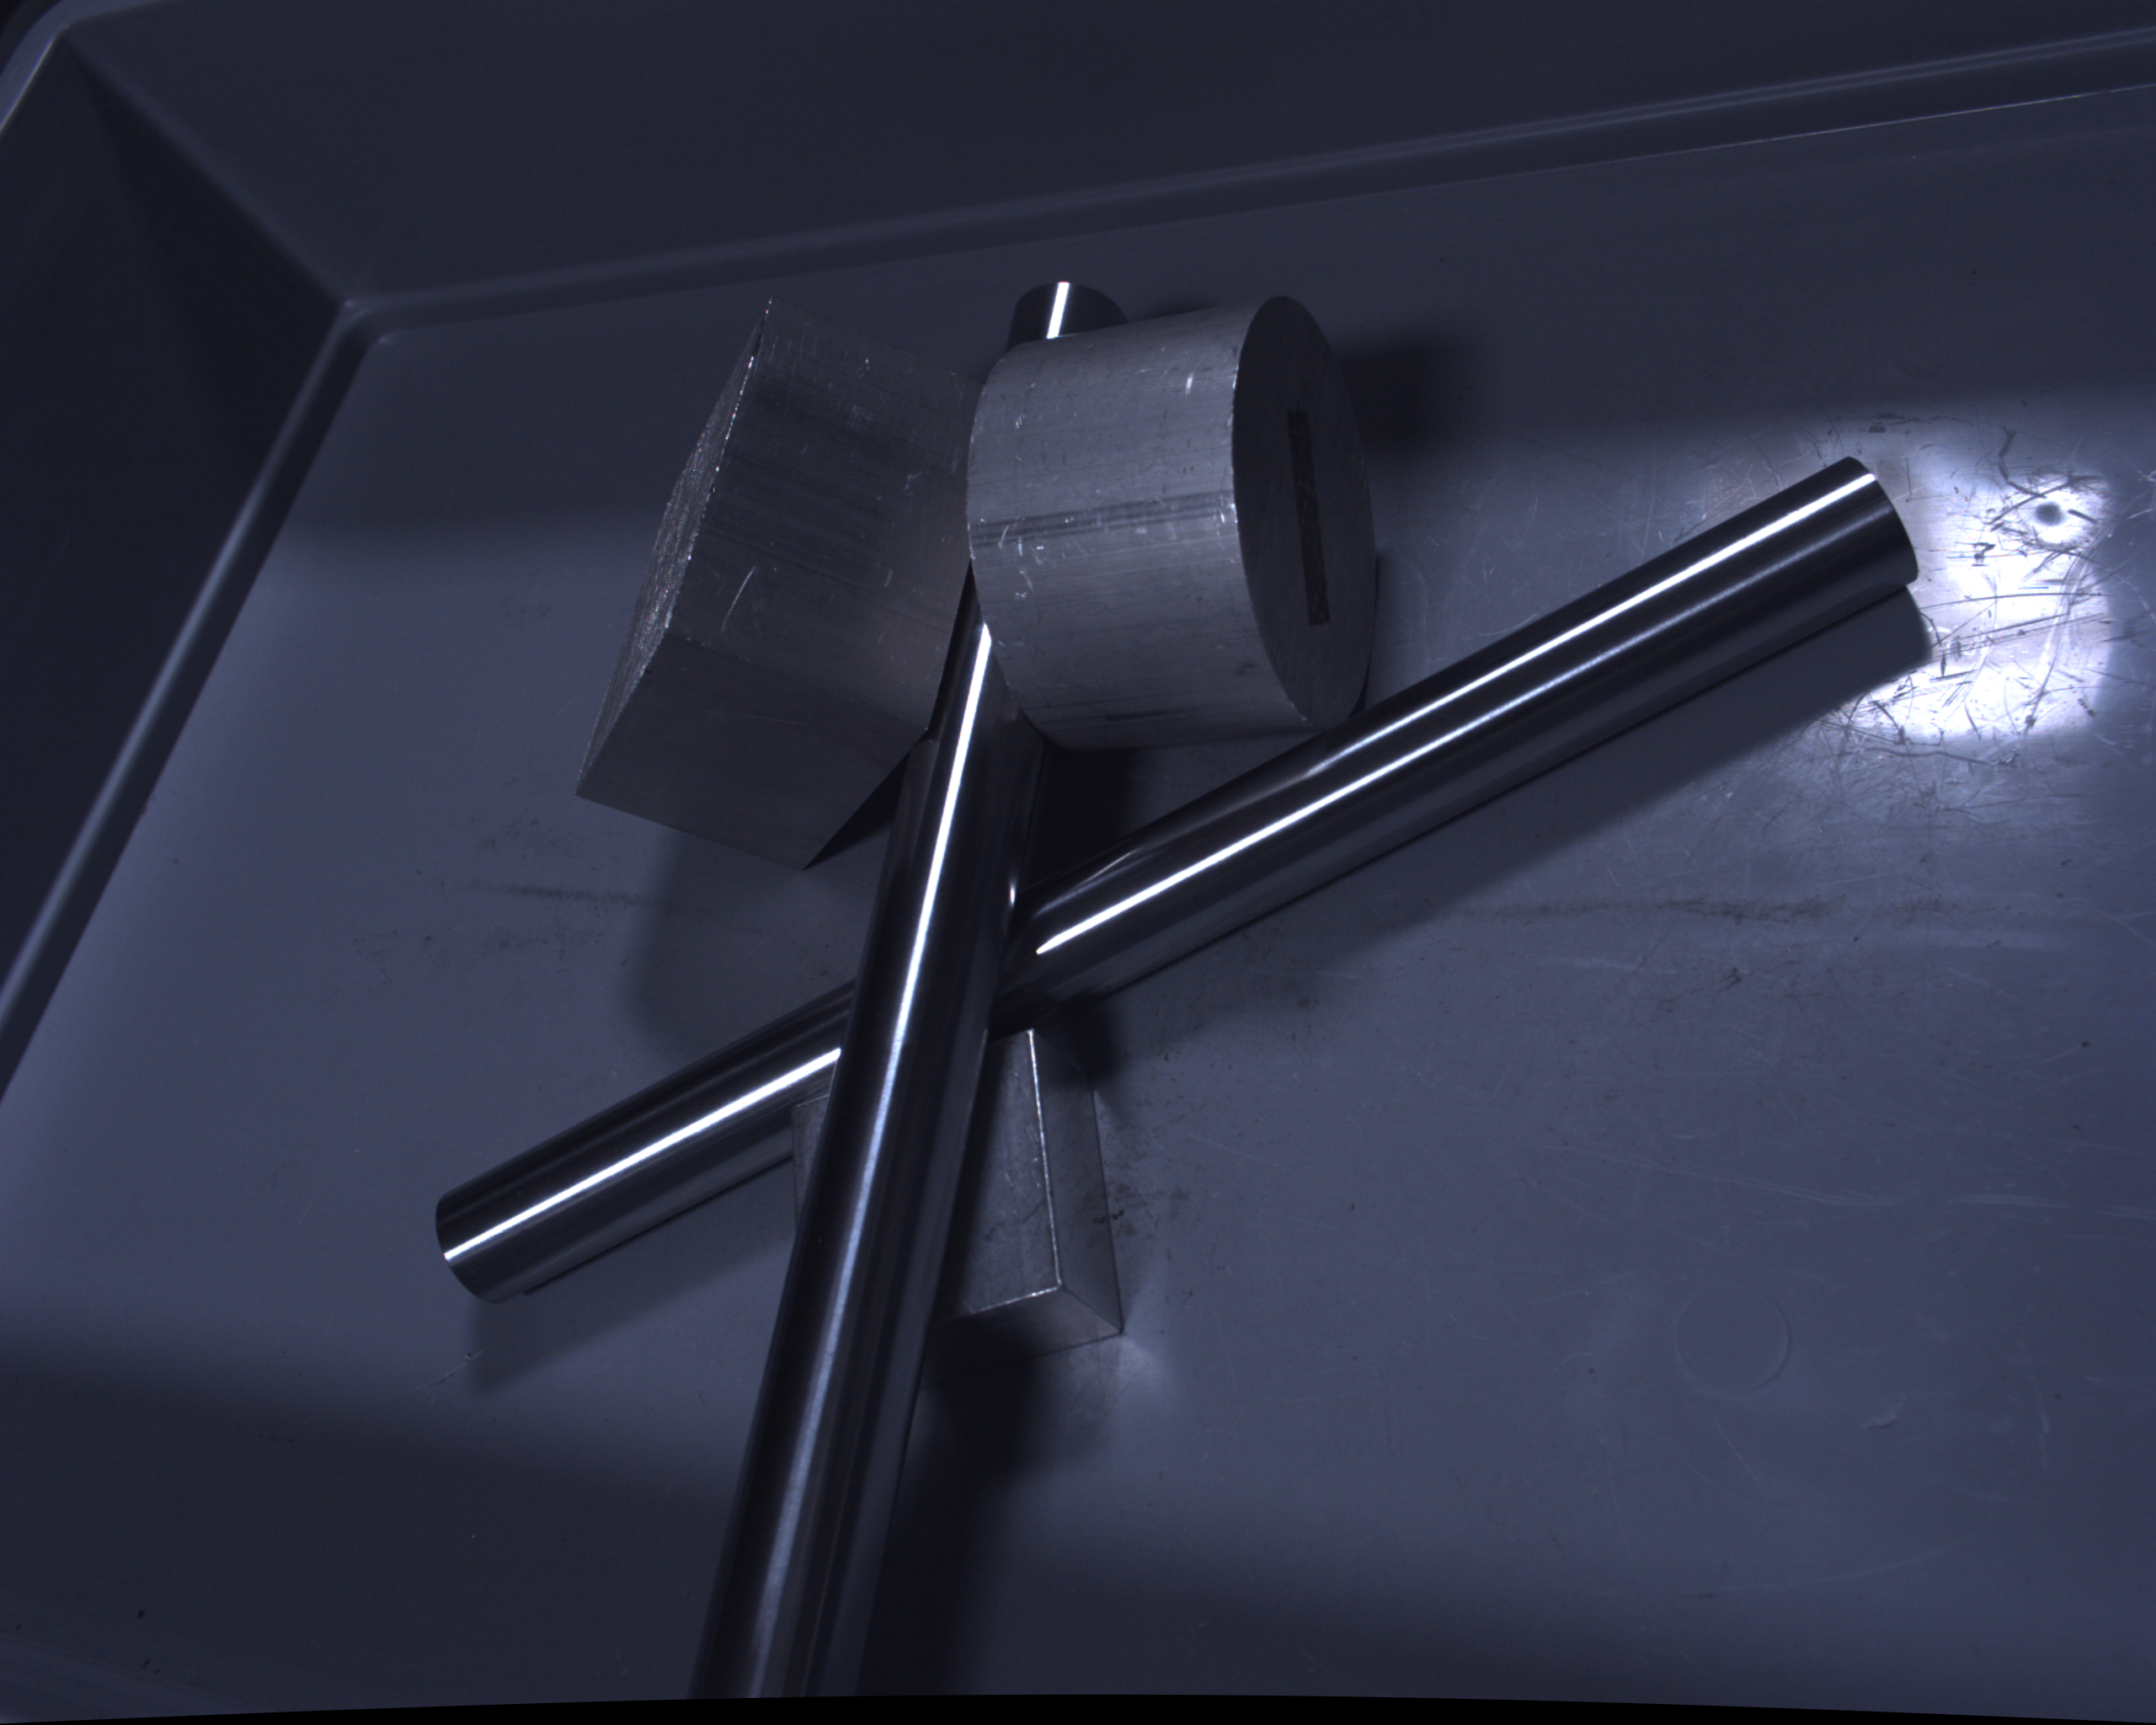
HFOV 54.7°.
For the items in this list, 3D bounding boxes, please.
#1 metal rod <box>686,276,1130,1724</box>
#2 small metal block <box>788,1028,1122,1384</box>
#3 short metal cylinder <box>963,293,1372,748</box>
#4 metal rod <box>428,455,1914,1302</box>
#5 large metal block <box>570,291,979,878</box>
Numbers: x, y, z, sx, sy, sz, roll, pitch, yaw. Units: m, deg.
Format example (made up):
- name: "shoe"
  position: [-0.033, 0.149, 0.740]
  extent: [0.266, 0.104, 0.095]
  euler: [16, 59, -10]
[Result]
- name: "metal rod"
  position: [-0.025, 0.014, 0.373]
  extent: [0.025, 0.025, 0.300]
  euler: [-4, 58, 25]
- name: "small metal block"
  position: [-0.023, 0.064, 0.376]
  extent: [0.050, 0.025, 0.050]
  euler: [-19, 54, 16]
- name: "short metal cylinder"
  position: [0.019, -0.063, 0.395]
  extent: [0.050, 0.080, 0.080]
  euler: [-3, 60, 25]
- name: "metal rod"
  position: [0.009, 0.008, 0.392]
  extent: [0.301, 0.025, 0.025]
  euler: [-28, 53, 10]
- name: "large metal block"
  position: [-0.060, -0.053, 0.425]
  extent: [0.080, 0.050, 0.080]
  euler: [-40, 34, 57]
